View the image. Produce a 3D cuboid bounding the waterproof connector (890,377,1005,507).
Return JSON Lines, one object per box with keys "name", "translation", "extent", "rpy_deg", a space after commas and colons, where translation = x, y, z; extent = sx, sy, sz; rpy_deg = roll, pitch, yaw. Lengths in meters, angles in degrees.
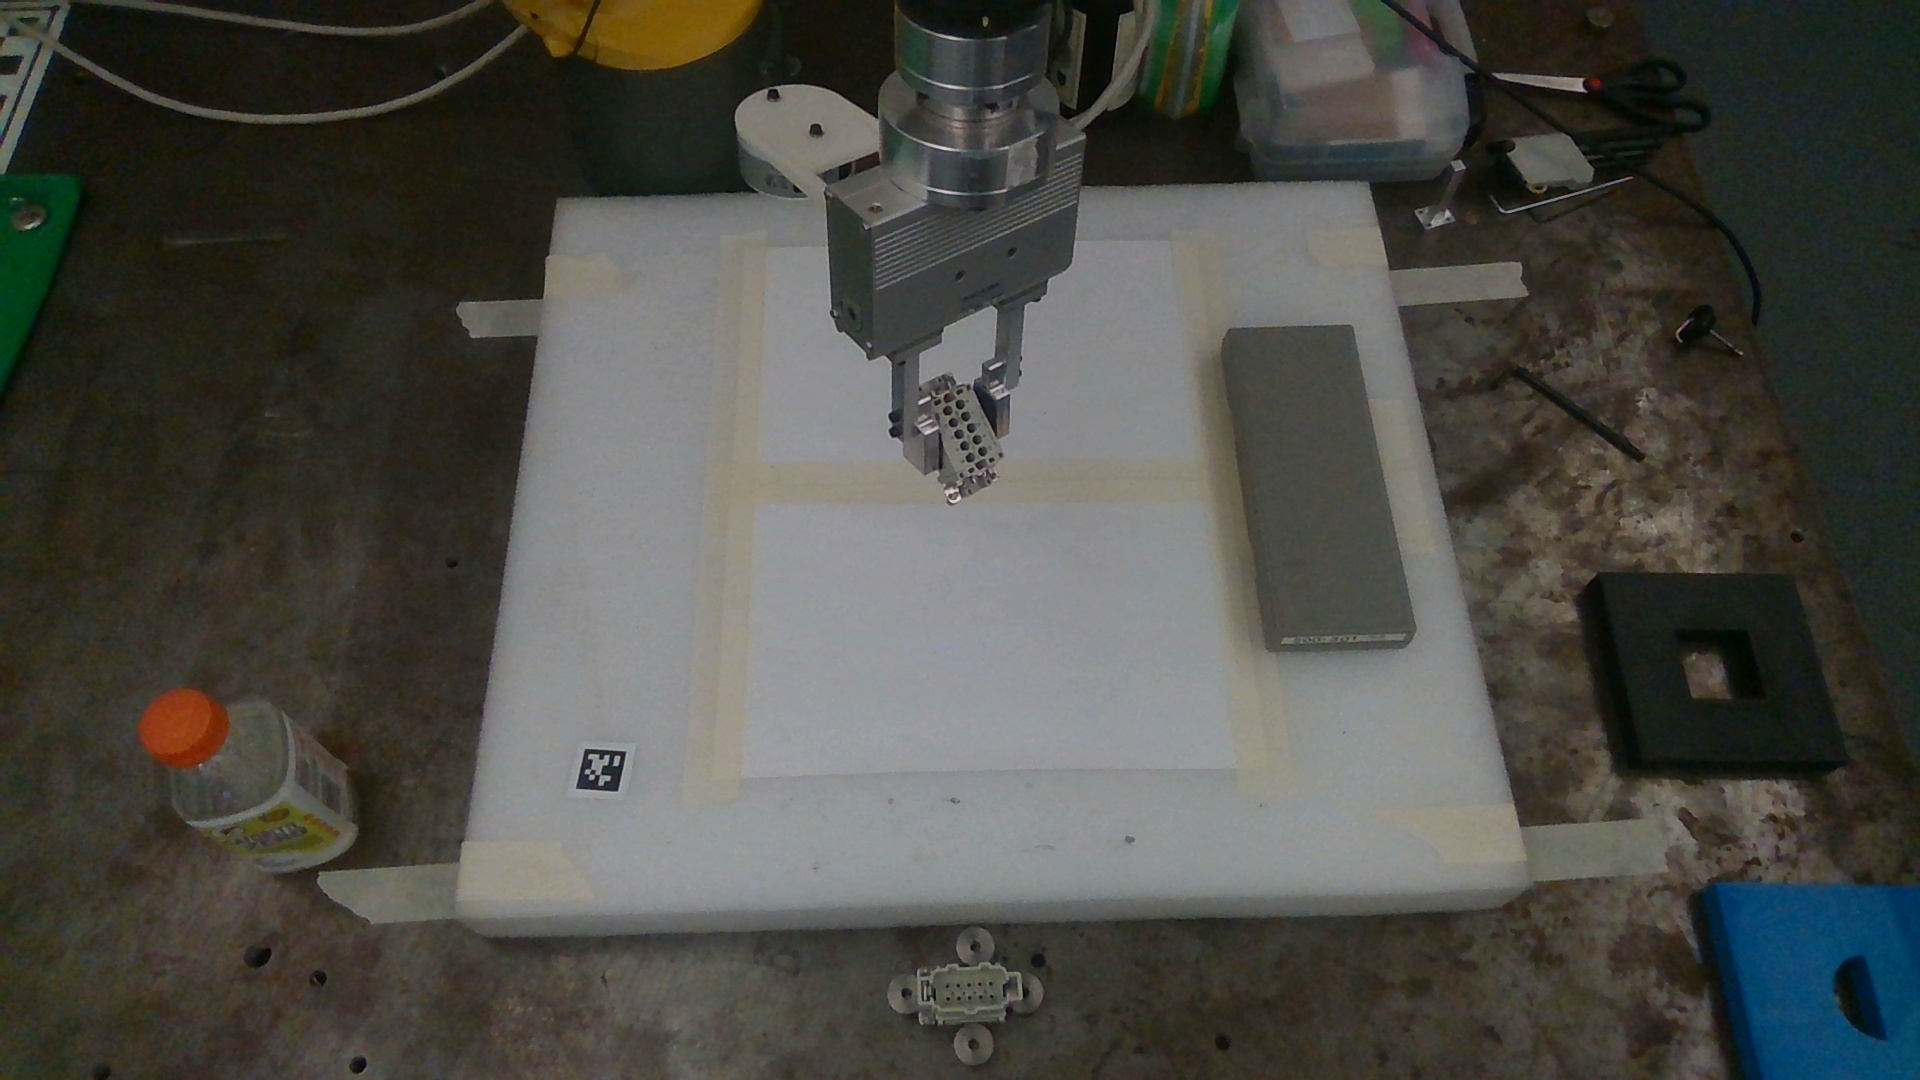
{"name": "waterproof connector", "translation": [-0.007, -0.055, 0.758], "extent": [0.036, 0.039, 0.069], "rpy_deg": [-30, 87, -30]}
